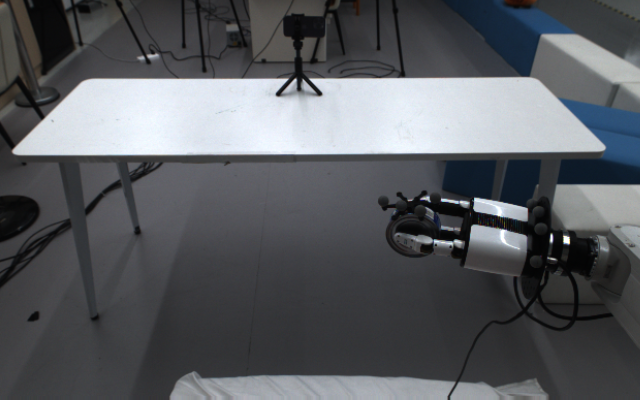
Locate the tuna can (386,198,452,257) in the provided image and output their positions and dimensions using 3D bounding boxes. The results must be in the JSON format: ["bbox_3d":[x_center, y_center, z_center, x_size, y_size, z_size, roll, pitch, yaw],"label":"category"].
[{"bbox_3d":[0.151,0.049,0.774,0.085,0.085,0.034,10,32,11],"label":"tuna can"}]
